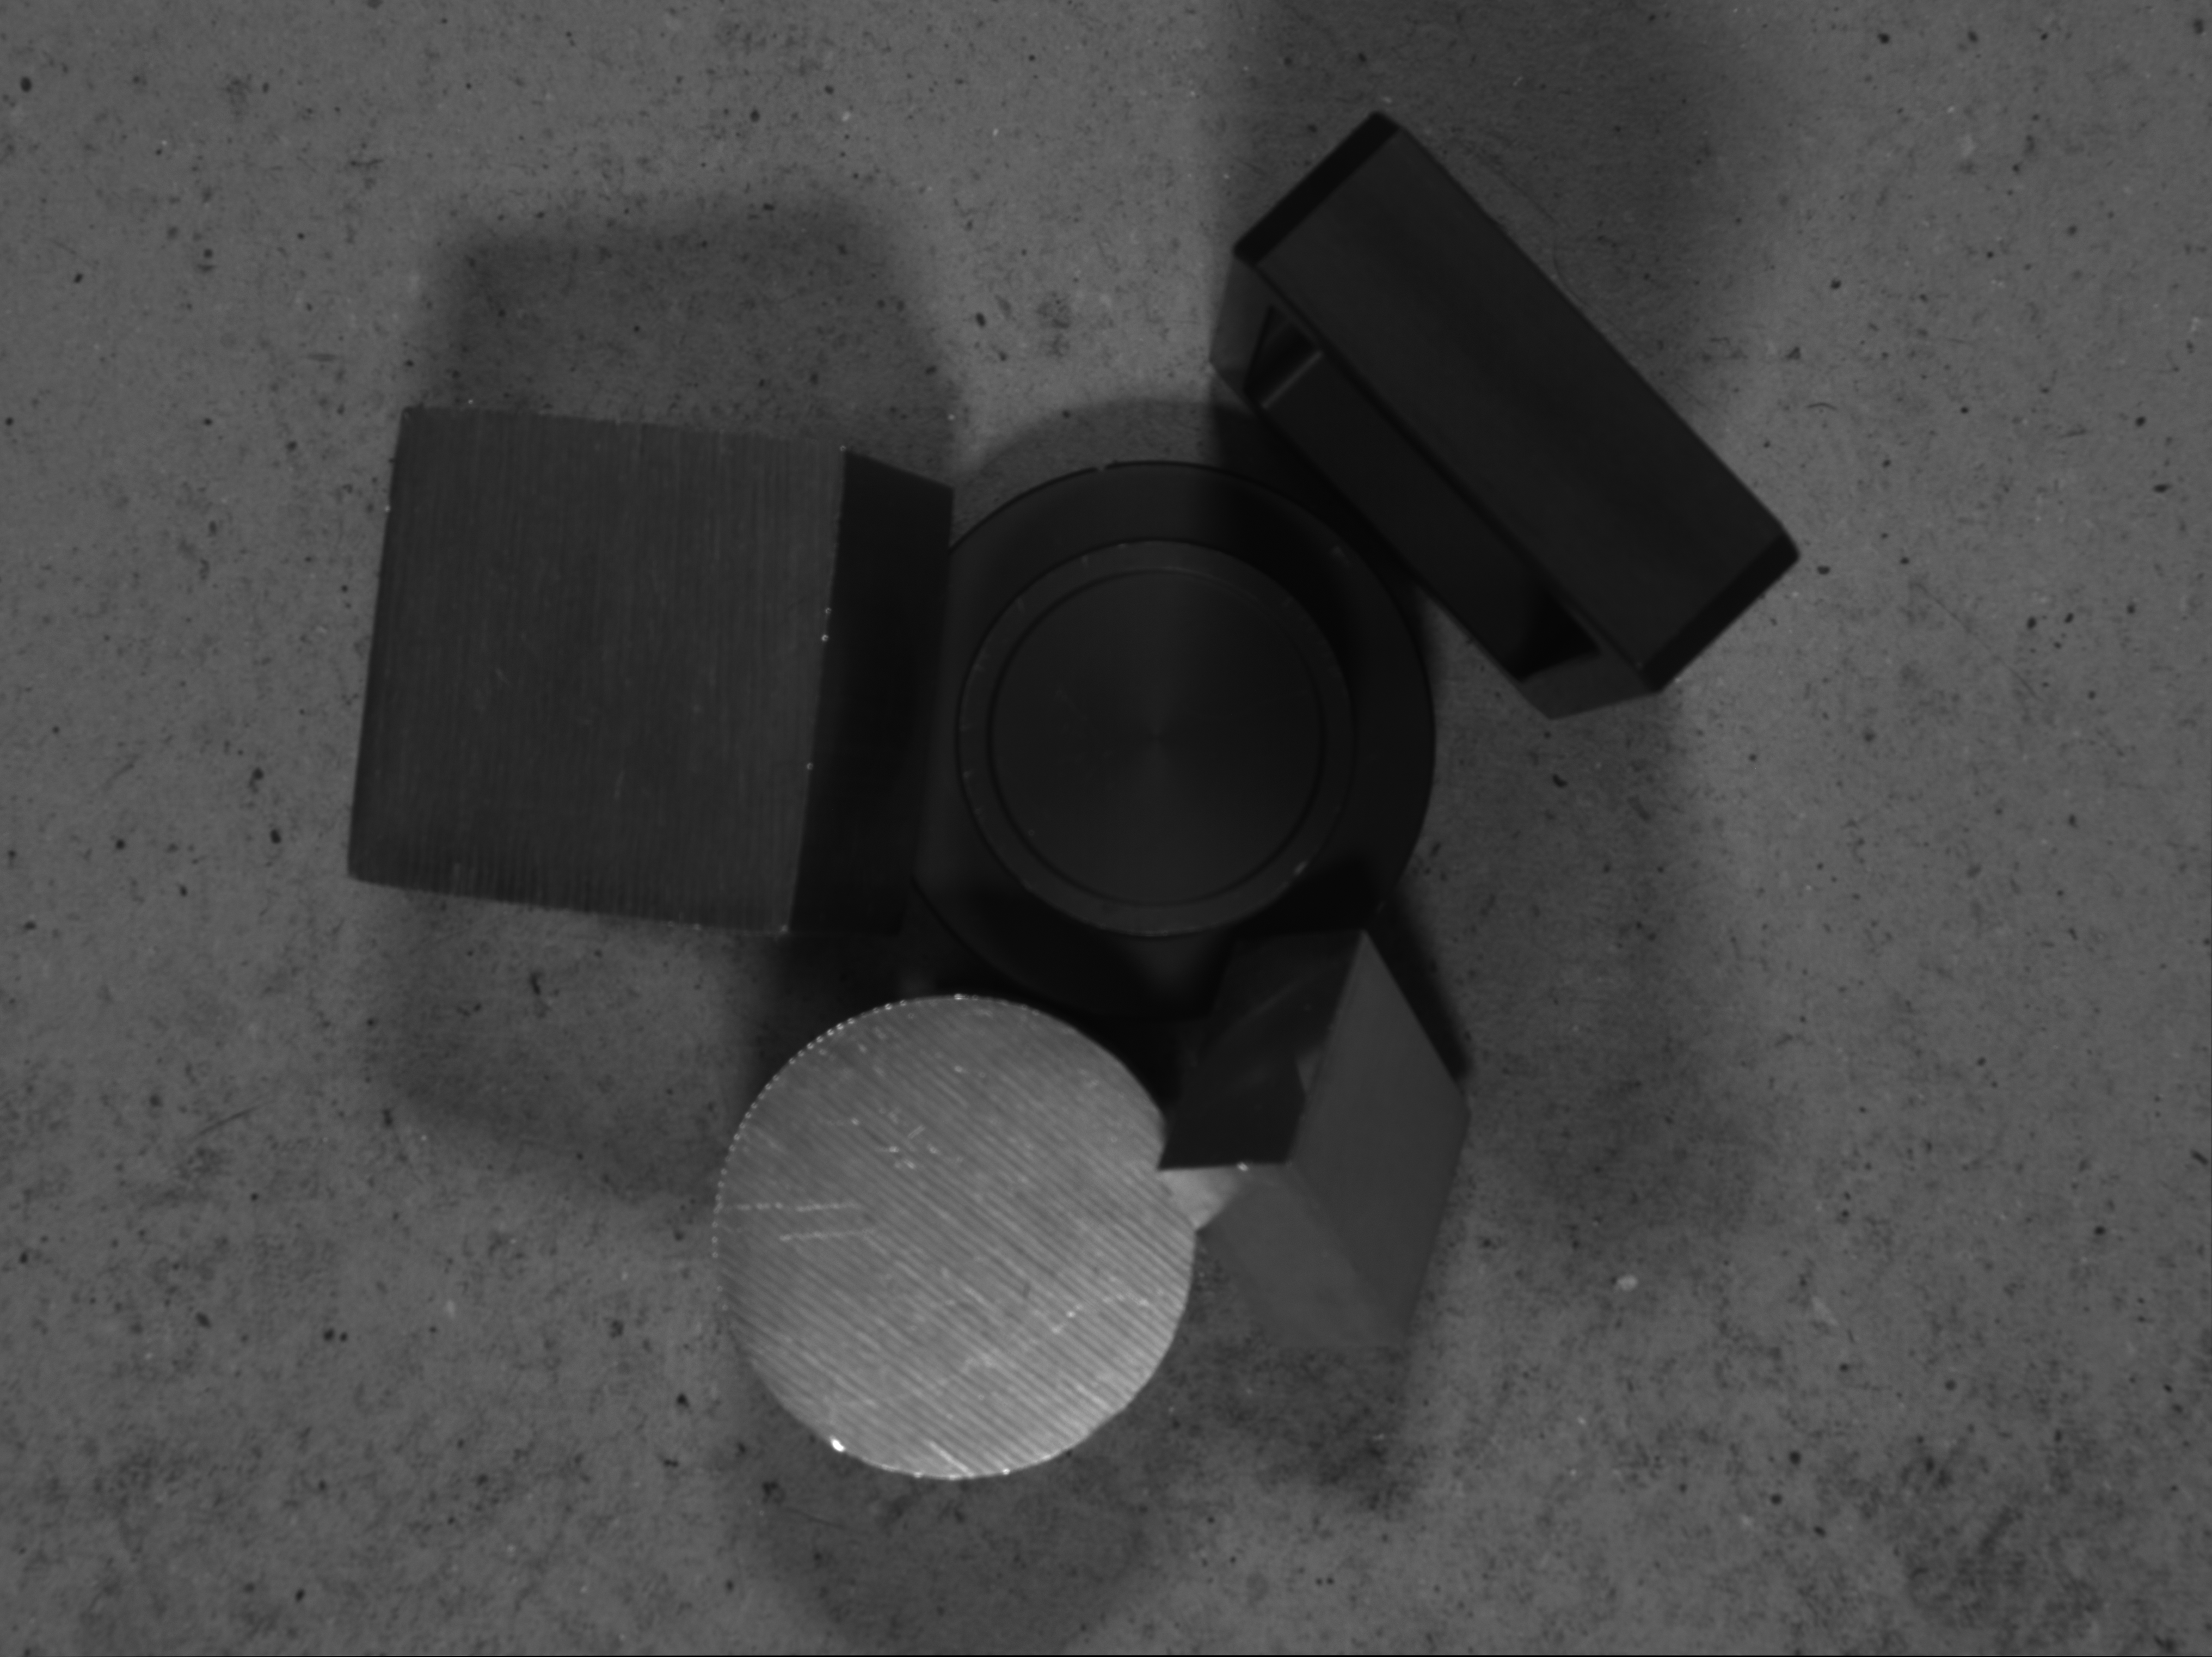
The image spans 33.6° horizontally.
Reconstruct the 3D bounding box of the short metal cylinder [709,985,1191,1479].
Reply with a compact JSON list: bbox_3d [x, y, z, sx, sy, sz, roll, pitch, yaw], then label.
[{"bbox_3d":[-0.026,0.068,0.633,0.080,0.050,0.080,0,90,0],"label":"short metal cylinder"}]

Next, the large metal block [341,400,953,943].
[{"bbox_3d":[-0.077,-0.026,0.620,0.080,0.050,0.080,7,90,17],"label":"large metal block"}]

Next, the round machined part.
[{"bbox_3d":[0.008,-0.015,0.638,0.098,0.042,0.098,0,90,0],"label":"round machined part"}]

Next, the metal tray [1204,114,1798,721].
[{"bbox_3d":[0.059,-0.061,0.592,0.030,0.130,0.090,-44,90,-1],"label":"metal tray"}]

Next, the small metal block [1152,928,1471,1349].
[{"bbox_3d":[0.036,0.053,0.622,0.025,0.050,0.050,-6,134,30],"label":"small metal block"}]
